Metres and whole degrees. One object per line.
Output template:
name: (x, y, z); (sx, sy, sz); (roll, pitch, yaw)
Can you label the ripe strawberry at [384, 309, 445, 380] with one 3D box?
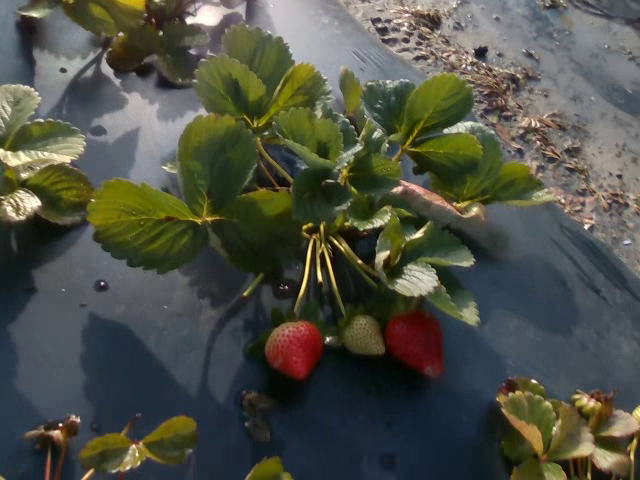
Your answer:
ripe strawberry: (0.075, 0.083, 0.441); (0.048, 0.065, 0.050); (-29, -25, 17)
